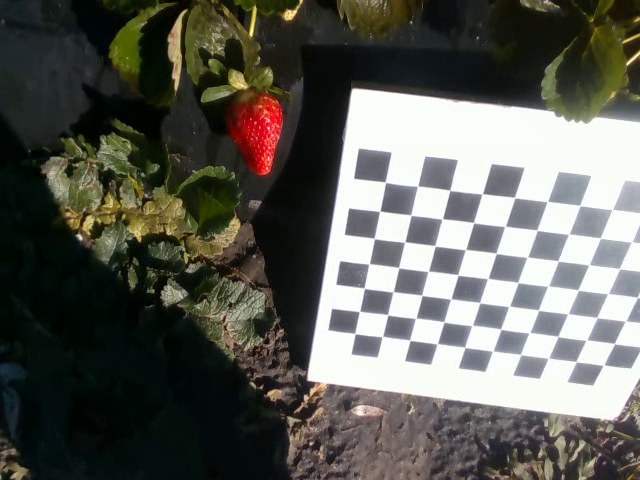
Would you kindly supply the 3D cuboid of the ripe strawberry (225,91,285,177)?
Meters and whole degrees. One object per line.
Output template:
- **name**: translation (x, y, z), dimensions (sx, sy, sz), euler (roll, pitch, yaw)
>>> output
- **ripe strawberry**: translation (-0.046, -0.076, 0.419), dimensions (0.048, 0.069, 0.040), euler (-8, 22, 9)
